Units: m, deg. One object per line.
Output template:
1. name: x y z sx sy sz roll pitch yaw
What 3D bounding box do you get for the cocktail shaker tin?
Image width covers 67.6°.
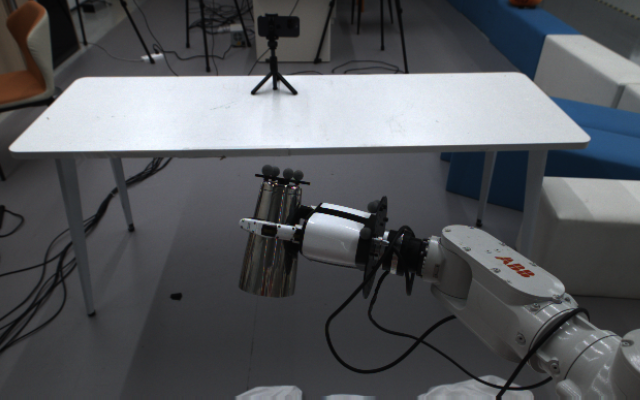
1. cocktail shaker tin: -0.073 0.059 0.772 0.093 0.170 0.093 9 3 0
